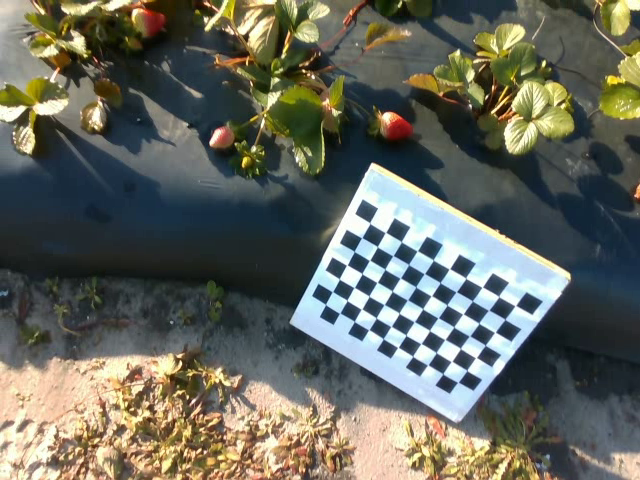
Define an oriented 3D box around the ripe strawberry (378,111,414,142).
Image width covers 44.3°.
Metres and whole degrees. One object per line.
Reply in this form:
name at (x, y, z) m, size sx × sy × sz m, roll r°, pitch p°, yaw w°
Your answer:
ripe strawberry at (0.115, -0.162, 1.087) m, size 0.063 × 0.045 × 0.044 m, roll 13°, pitch 28°, yaw 13°
